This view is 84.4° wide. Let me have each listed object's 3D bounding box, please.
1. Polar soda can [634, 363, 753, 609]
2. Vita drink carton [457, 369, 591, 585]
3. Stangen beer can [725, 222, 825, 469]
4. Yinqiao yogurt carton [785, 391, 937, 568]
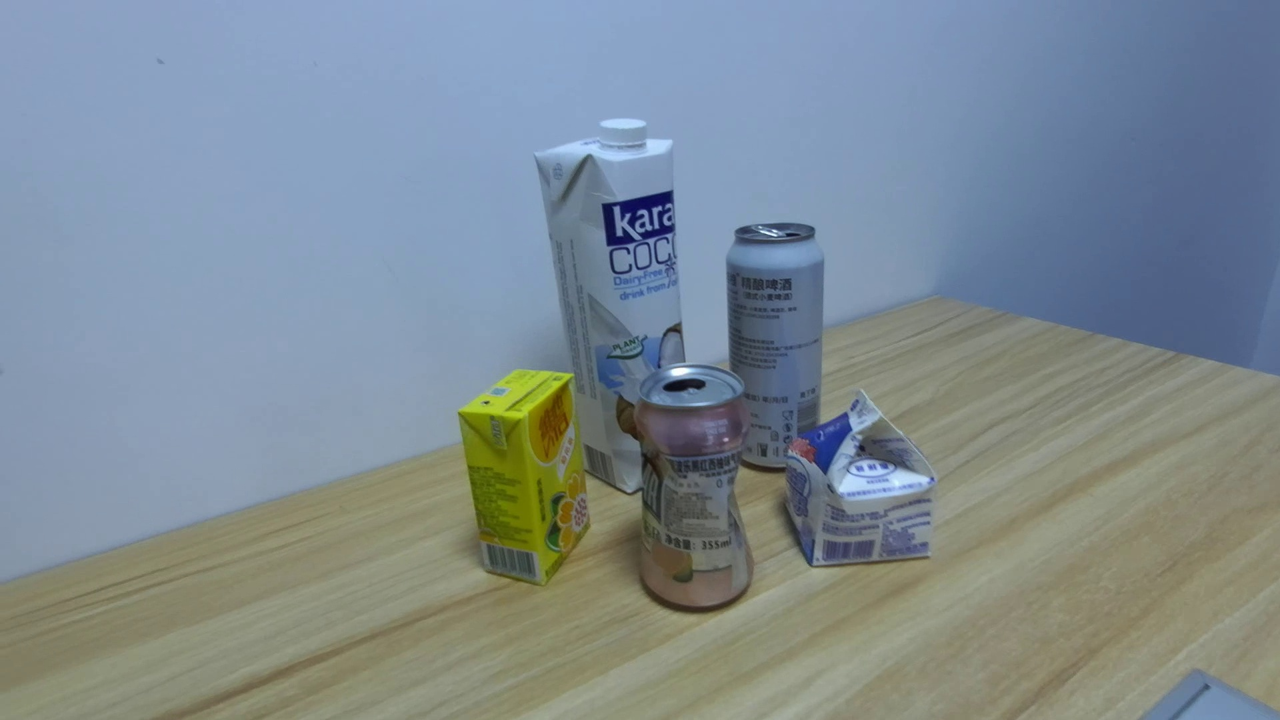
[{"bbox_3d":[0.031,0.069,0.389,0.067,0.122,0.074,12,26,34],"label":"Polar soda can"},{"bbox_3d":[-0.067,0.068,0.427,0.043,0.109,0.067,4,22,22],"label":"Vita drink carton"},{"bbox_3d":[0.096,-0.008,0.502,0.067,0.171,0.067,-3,20,2],"label":"Stangen beer can"},{"bbox_3d":[0.130,0.063,0.420,0.077,0.093,0.083,-4,20,0],"label":"Yinqiao yogurt carton"}]
